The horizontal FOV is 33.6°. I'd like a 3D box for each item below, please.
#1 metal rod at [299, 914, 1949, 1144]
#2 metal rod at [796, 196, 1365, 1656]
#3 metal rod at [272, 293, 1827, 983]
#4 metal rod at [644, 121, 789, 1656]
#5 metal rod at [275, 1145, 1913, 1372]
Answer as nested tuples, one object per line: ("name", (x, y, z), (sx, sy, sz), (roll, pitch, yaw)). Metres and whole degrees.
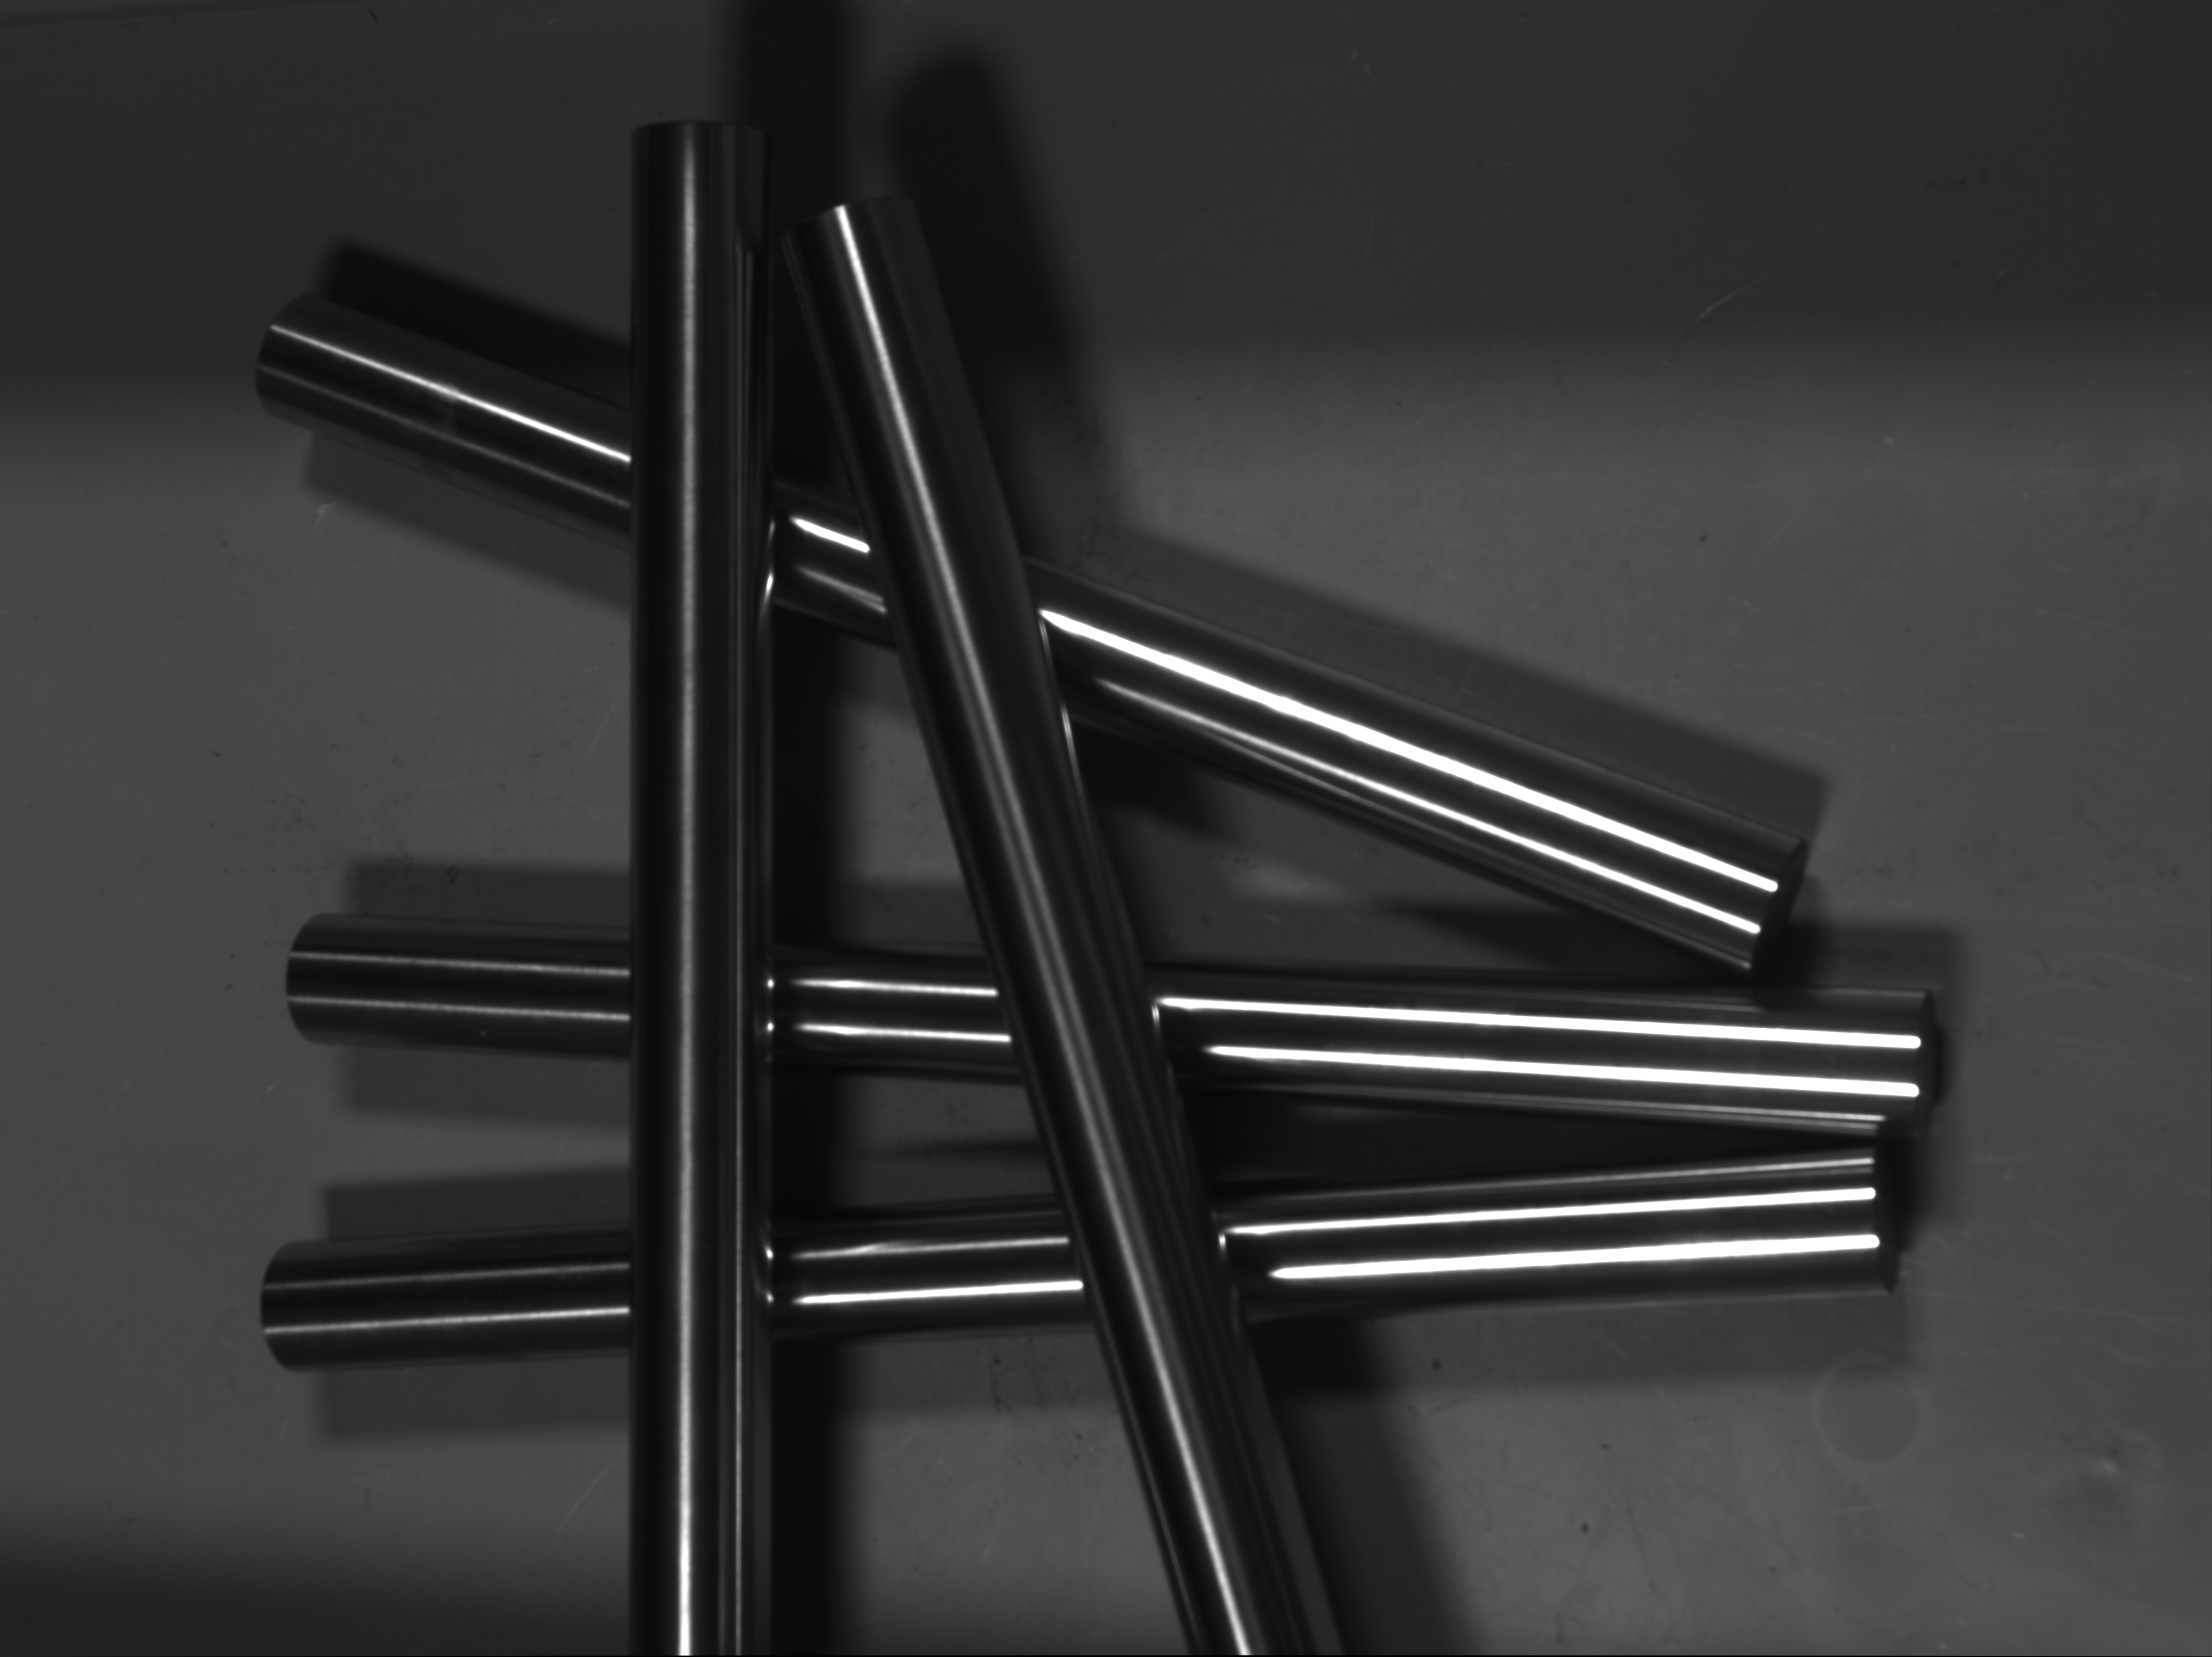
("metal rod", (-0.005, 0.034, 0.645), (0.299, 0.025, 0.025), (2, 91, 20))
("metal rod", (0.001, 0.039, 0.616), (0.025, 0.025, 0.300), (-18, 84, 19))
("metal rod", (-0.018, -0.038, 0.649), (0.299, 0.025, 0.025), (21, 97, 18))
("metal rod", (-0.068, 0.029, 0.640), (0.025, 0.025, 0.300), (0, 90, 20))
("metal rod", (-0.011, 0.077, 0.647), (0.299, 0.025, 0.025), (-5, 88, 20))
